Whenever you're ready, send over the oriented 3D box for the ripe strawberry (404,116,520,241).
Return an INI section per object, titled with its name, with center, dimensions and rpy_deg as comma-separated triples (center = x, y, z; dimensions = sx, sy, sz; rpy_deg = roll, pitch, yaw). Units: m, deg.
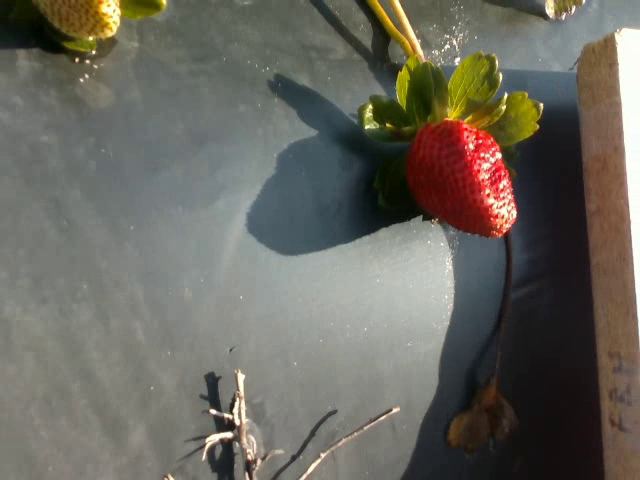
[ripe strawberry]
center = 0.017, -0.008, 0.073
dimensions = 0.015, 0.015, 0.023
rpy_deg = 6, 33, -24
